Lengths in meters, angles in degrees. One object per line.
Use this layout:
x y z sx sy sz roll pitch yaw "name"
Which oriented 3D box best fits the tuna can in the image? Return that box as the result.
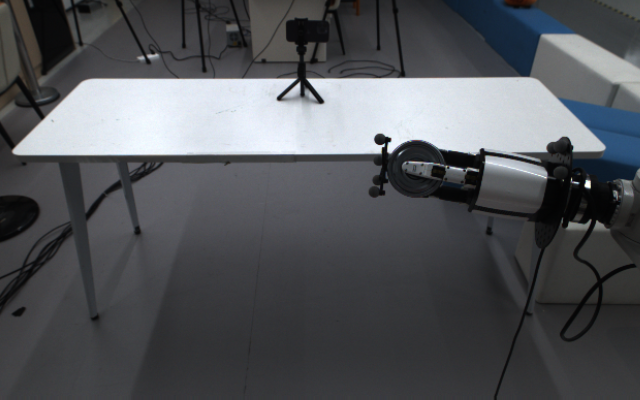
0.146 -0.044 0.716 0.085 0.085 0.034 10 2 11 "tuna can"
